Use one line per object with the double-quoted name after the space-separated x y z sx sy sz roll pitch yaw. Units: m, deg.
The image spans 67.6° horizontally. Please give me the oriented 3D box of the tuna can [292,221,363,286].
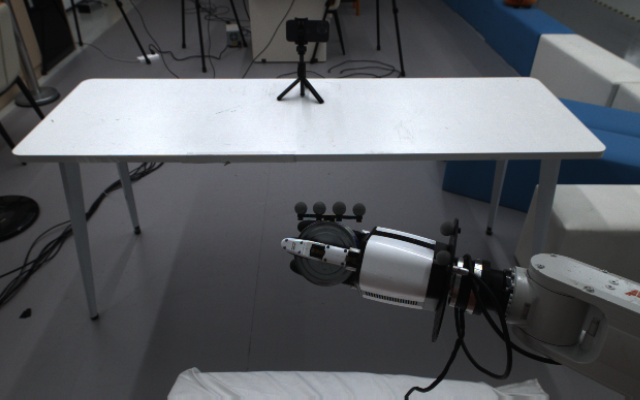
0.013 0.074 0.637 0.085 0.085 0.034 13 -3 15 "tuna can"
